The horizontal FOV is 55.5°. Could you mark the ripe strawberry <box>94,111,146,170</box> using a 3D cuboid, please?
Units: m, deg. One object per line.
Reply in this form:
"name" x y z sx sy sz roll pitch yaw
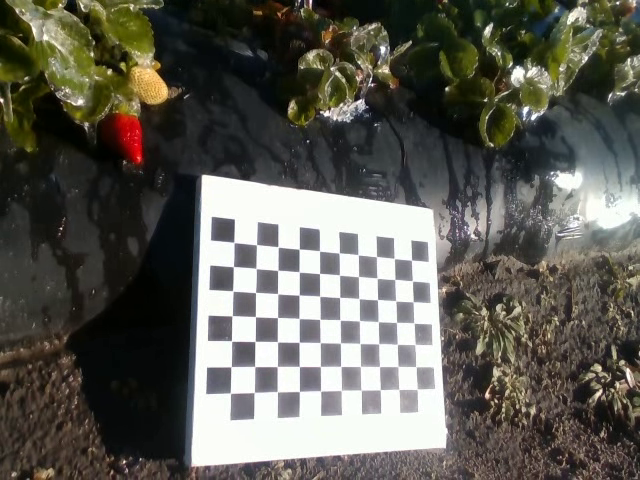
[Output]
"ripe strawberry" -0.175 -0.095 0.558 0.041 0.052 0.040 -13 -12 -32
